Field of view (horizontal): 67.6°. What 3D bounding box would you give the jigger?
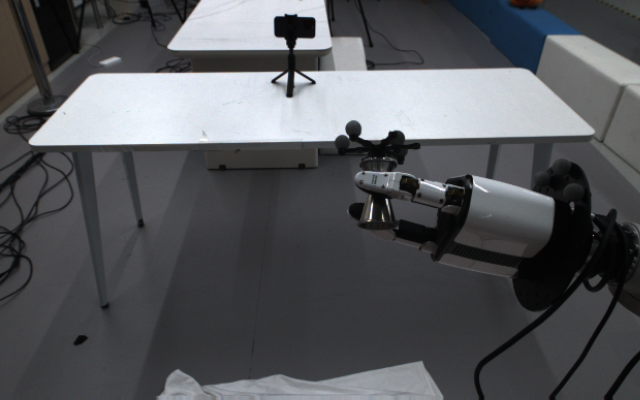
[{"bbox_3d":[0.060,-0.007,0.507,0.043,0.043,0.071,3,76,1],"label":"jigger"}]
